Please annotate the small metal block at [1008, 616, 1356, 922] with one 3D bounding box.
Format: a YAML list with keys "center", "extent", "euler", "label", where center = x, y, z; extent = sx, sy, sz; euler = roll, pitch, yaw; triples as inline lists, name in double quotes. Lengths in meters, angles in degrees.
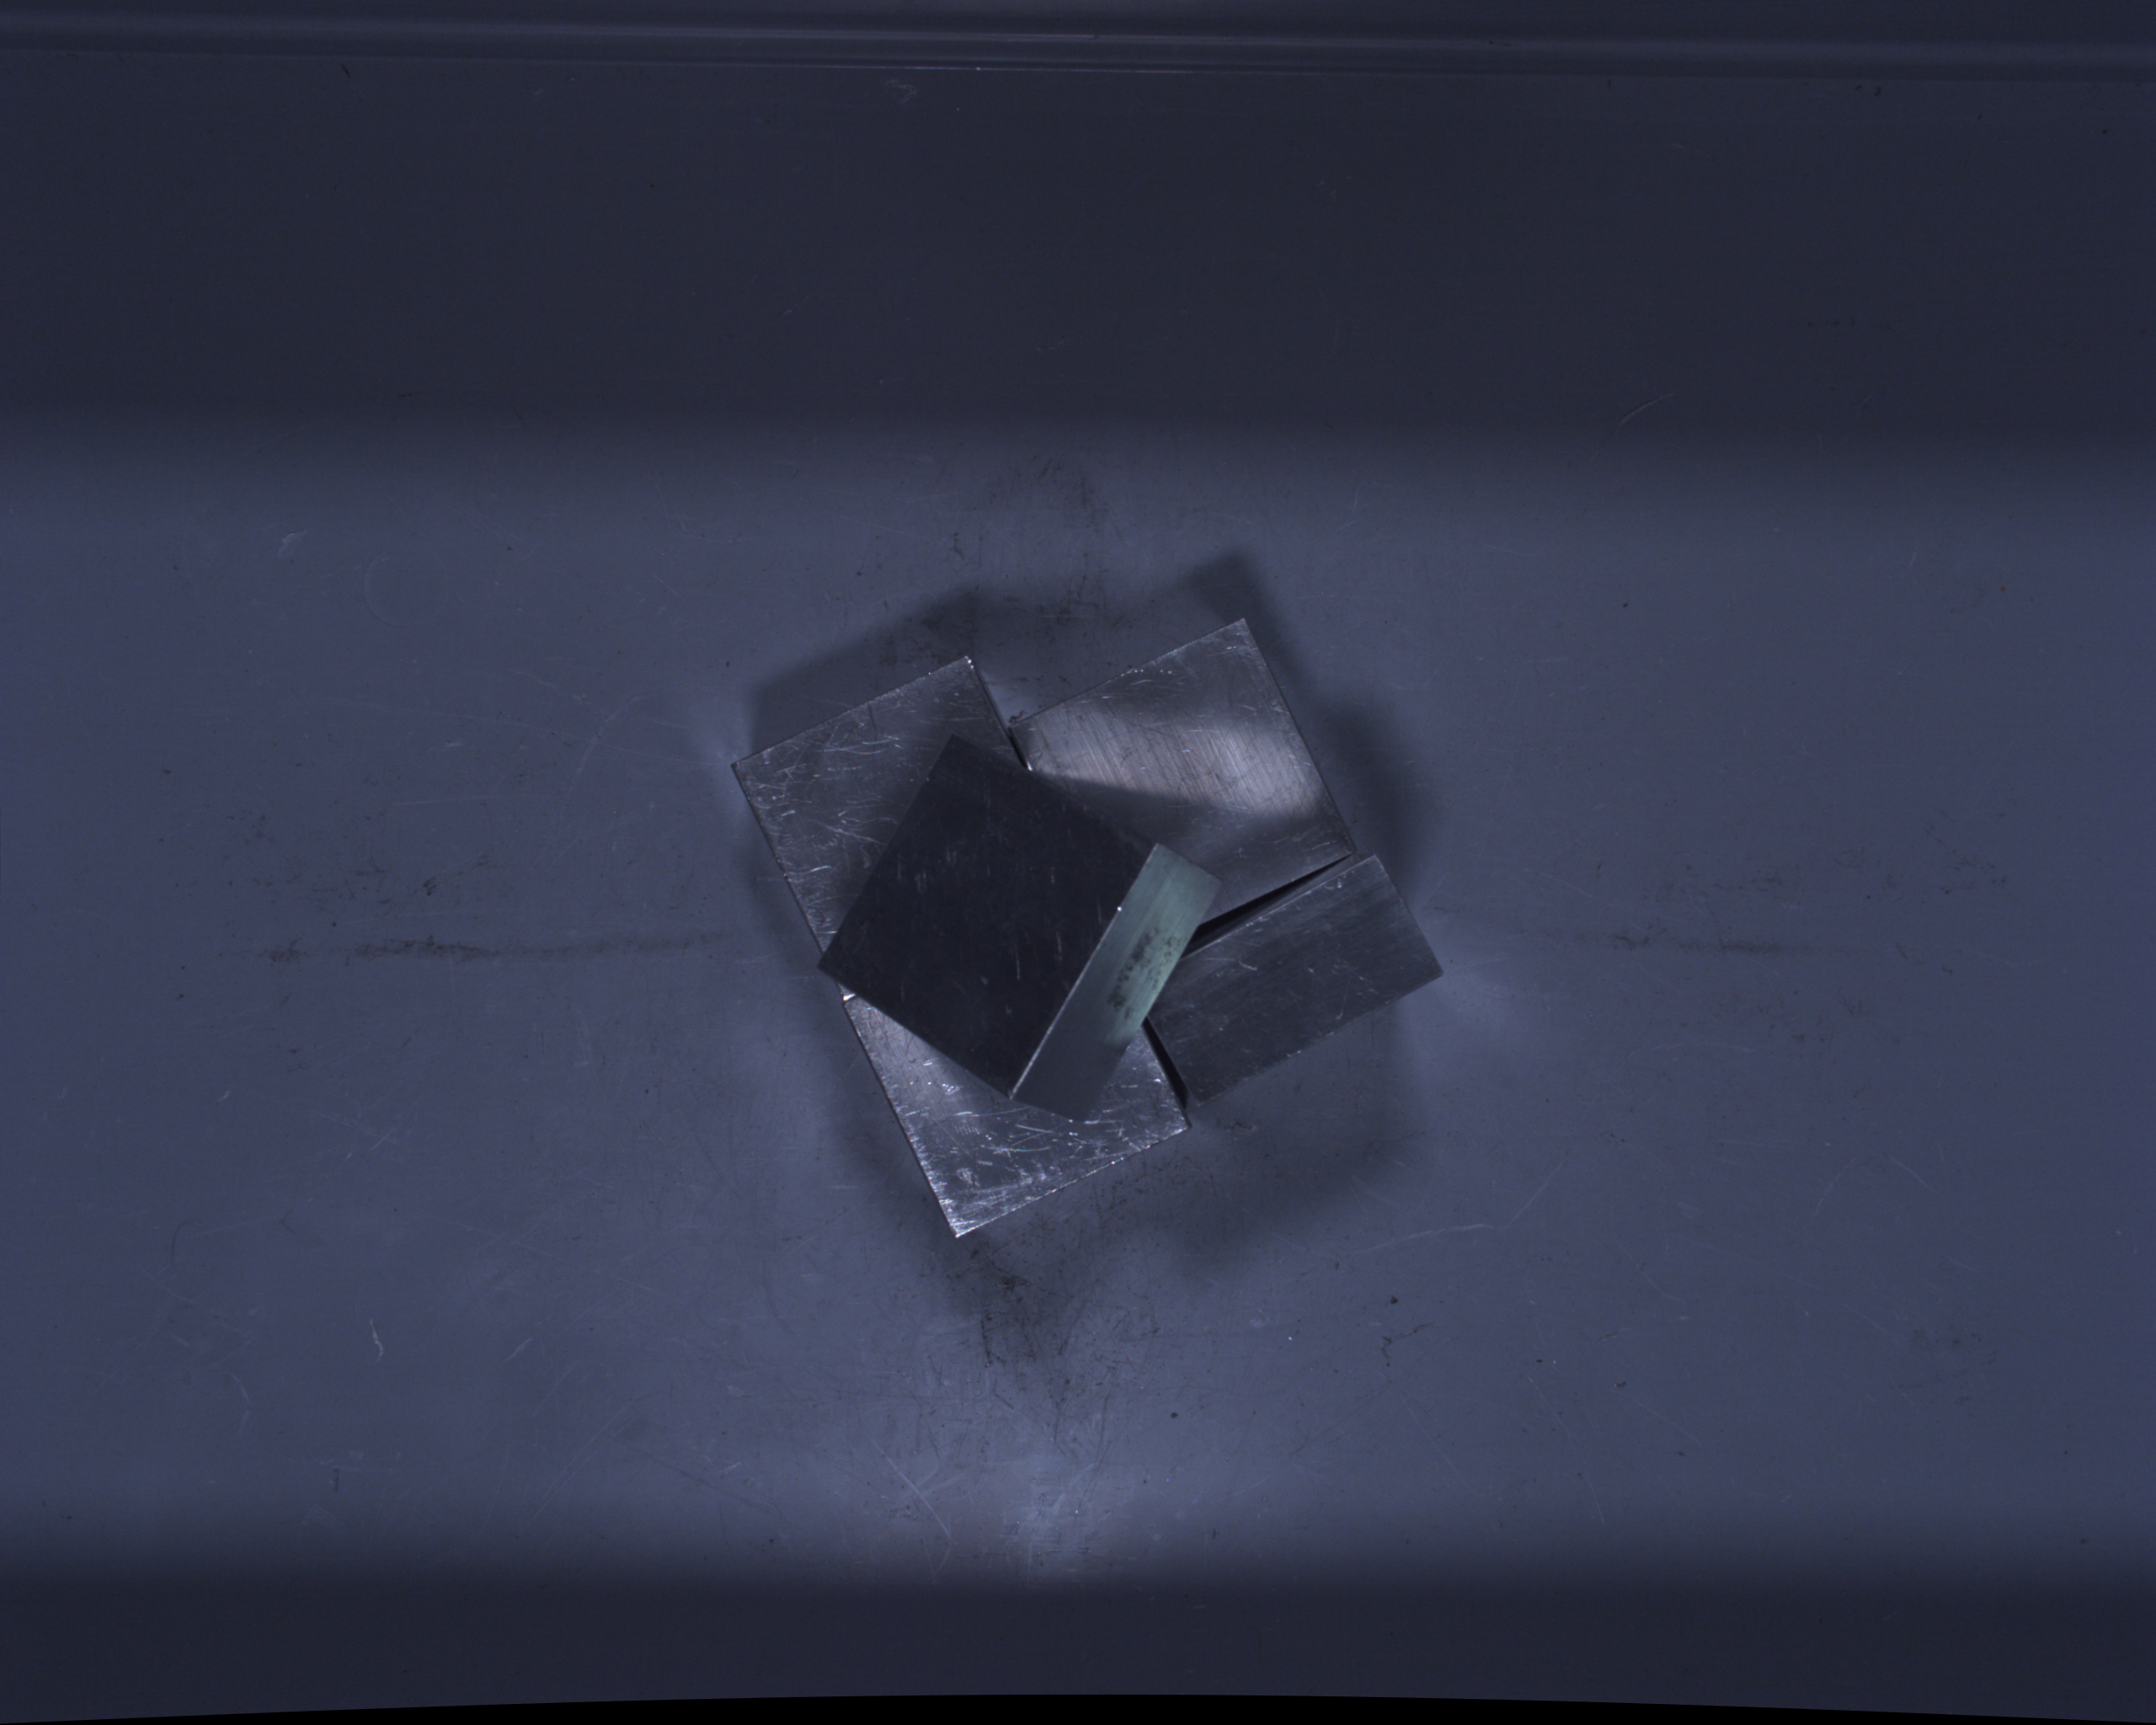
- center: [0.020, -0.014, 0.410]
  extent: [0.050, 0.025, 0.050]
  euler: [-25, 90, -1]
  label: "small metal block"

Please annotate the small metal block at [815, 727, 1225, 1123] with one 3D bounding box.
- center: [-0.011, 0.011, 0.372]
  extent: [0.050, 0.025, 0.050]
  euler: [30, 90, 34]
  label: "small metal block"

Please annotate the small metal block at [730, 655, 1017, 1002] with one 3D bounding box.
- center: [-0.033, -0.007, 0.409]
  extent: [0.050, 0.025, 0.050]
  euler: [-25, 90, -1]
  label: "small metal block"

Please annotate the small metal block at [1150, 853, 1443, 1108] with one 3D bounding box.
- center: [0.037, 0.021, 0.398]
  extent: [0.050, 0.050, 0.025]
  euler: [-28, 90, -1]
  label: "small metal block"

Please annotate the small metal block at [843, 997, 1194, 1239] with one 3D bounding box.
- center: [-0.011, 0.039, 0.410]
  extent: [0.050, 0.025, 0.050]
  euler: [-25, 90, -1]
  label: "small metal block"
